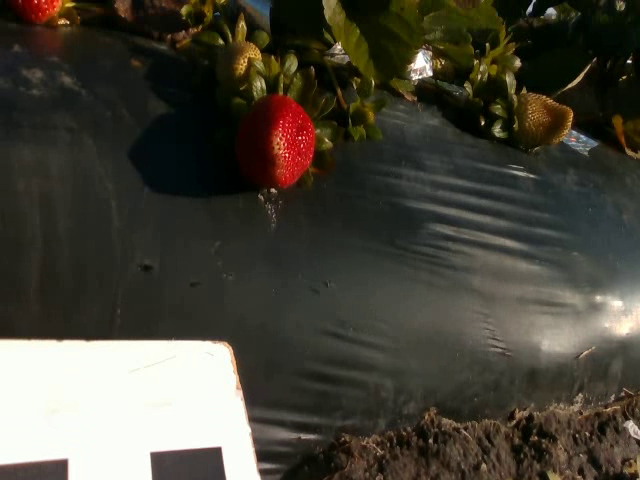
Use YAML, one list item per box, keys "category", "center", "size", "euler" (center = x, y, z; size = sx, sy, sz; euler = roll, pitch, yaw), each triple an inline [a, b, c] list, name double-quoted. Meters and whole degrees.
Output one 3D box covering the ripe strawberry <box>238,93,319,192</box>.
- category: "ripe strawberry"
  center: [-0.020, -0.038, 0.260]
  size: [0.042, 0.042, 0.059]
  euler: [26, 26, -17]
